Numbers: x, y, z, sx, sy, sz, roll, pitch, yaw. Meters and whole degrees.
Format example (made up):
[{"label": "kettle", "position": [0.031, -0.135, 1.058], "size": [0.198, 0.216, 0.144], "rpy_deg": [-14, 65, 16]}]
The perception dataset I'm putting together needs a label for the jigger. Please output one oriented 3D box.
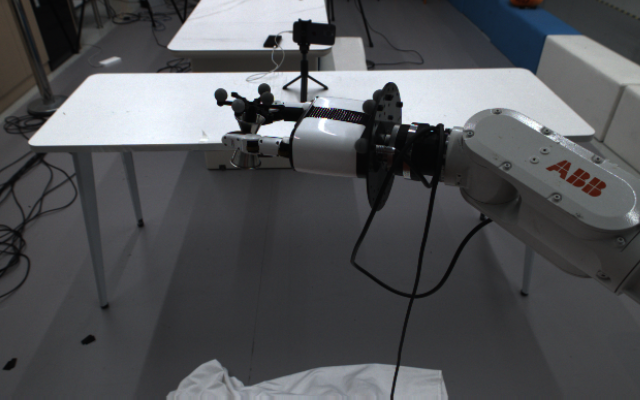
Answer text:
[{"label": "jigger", "position": [-0.099, -0.081, 0.661], "size": [0.043, 0.071, 0.043], "rpy_deg": [9, 30, -5]}]
